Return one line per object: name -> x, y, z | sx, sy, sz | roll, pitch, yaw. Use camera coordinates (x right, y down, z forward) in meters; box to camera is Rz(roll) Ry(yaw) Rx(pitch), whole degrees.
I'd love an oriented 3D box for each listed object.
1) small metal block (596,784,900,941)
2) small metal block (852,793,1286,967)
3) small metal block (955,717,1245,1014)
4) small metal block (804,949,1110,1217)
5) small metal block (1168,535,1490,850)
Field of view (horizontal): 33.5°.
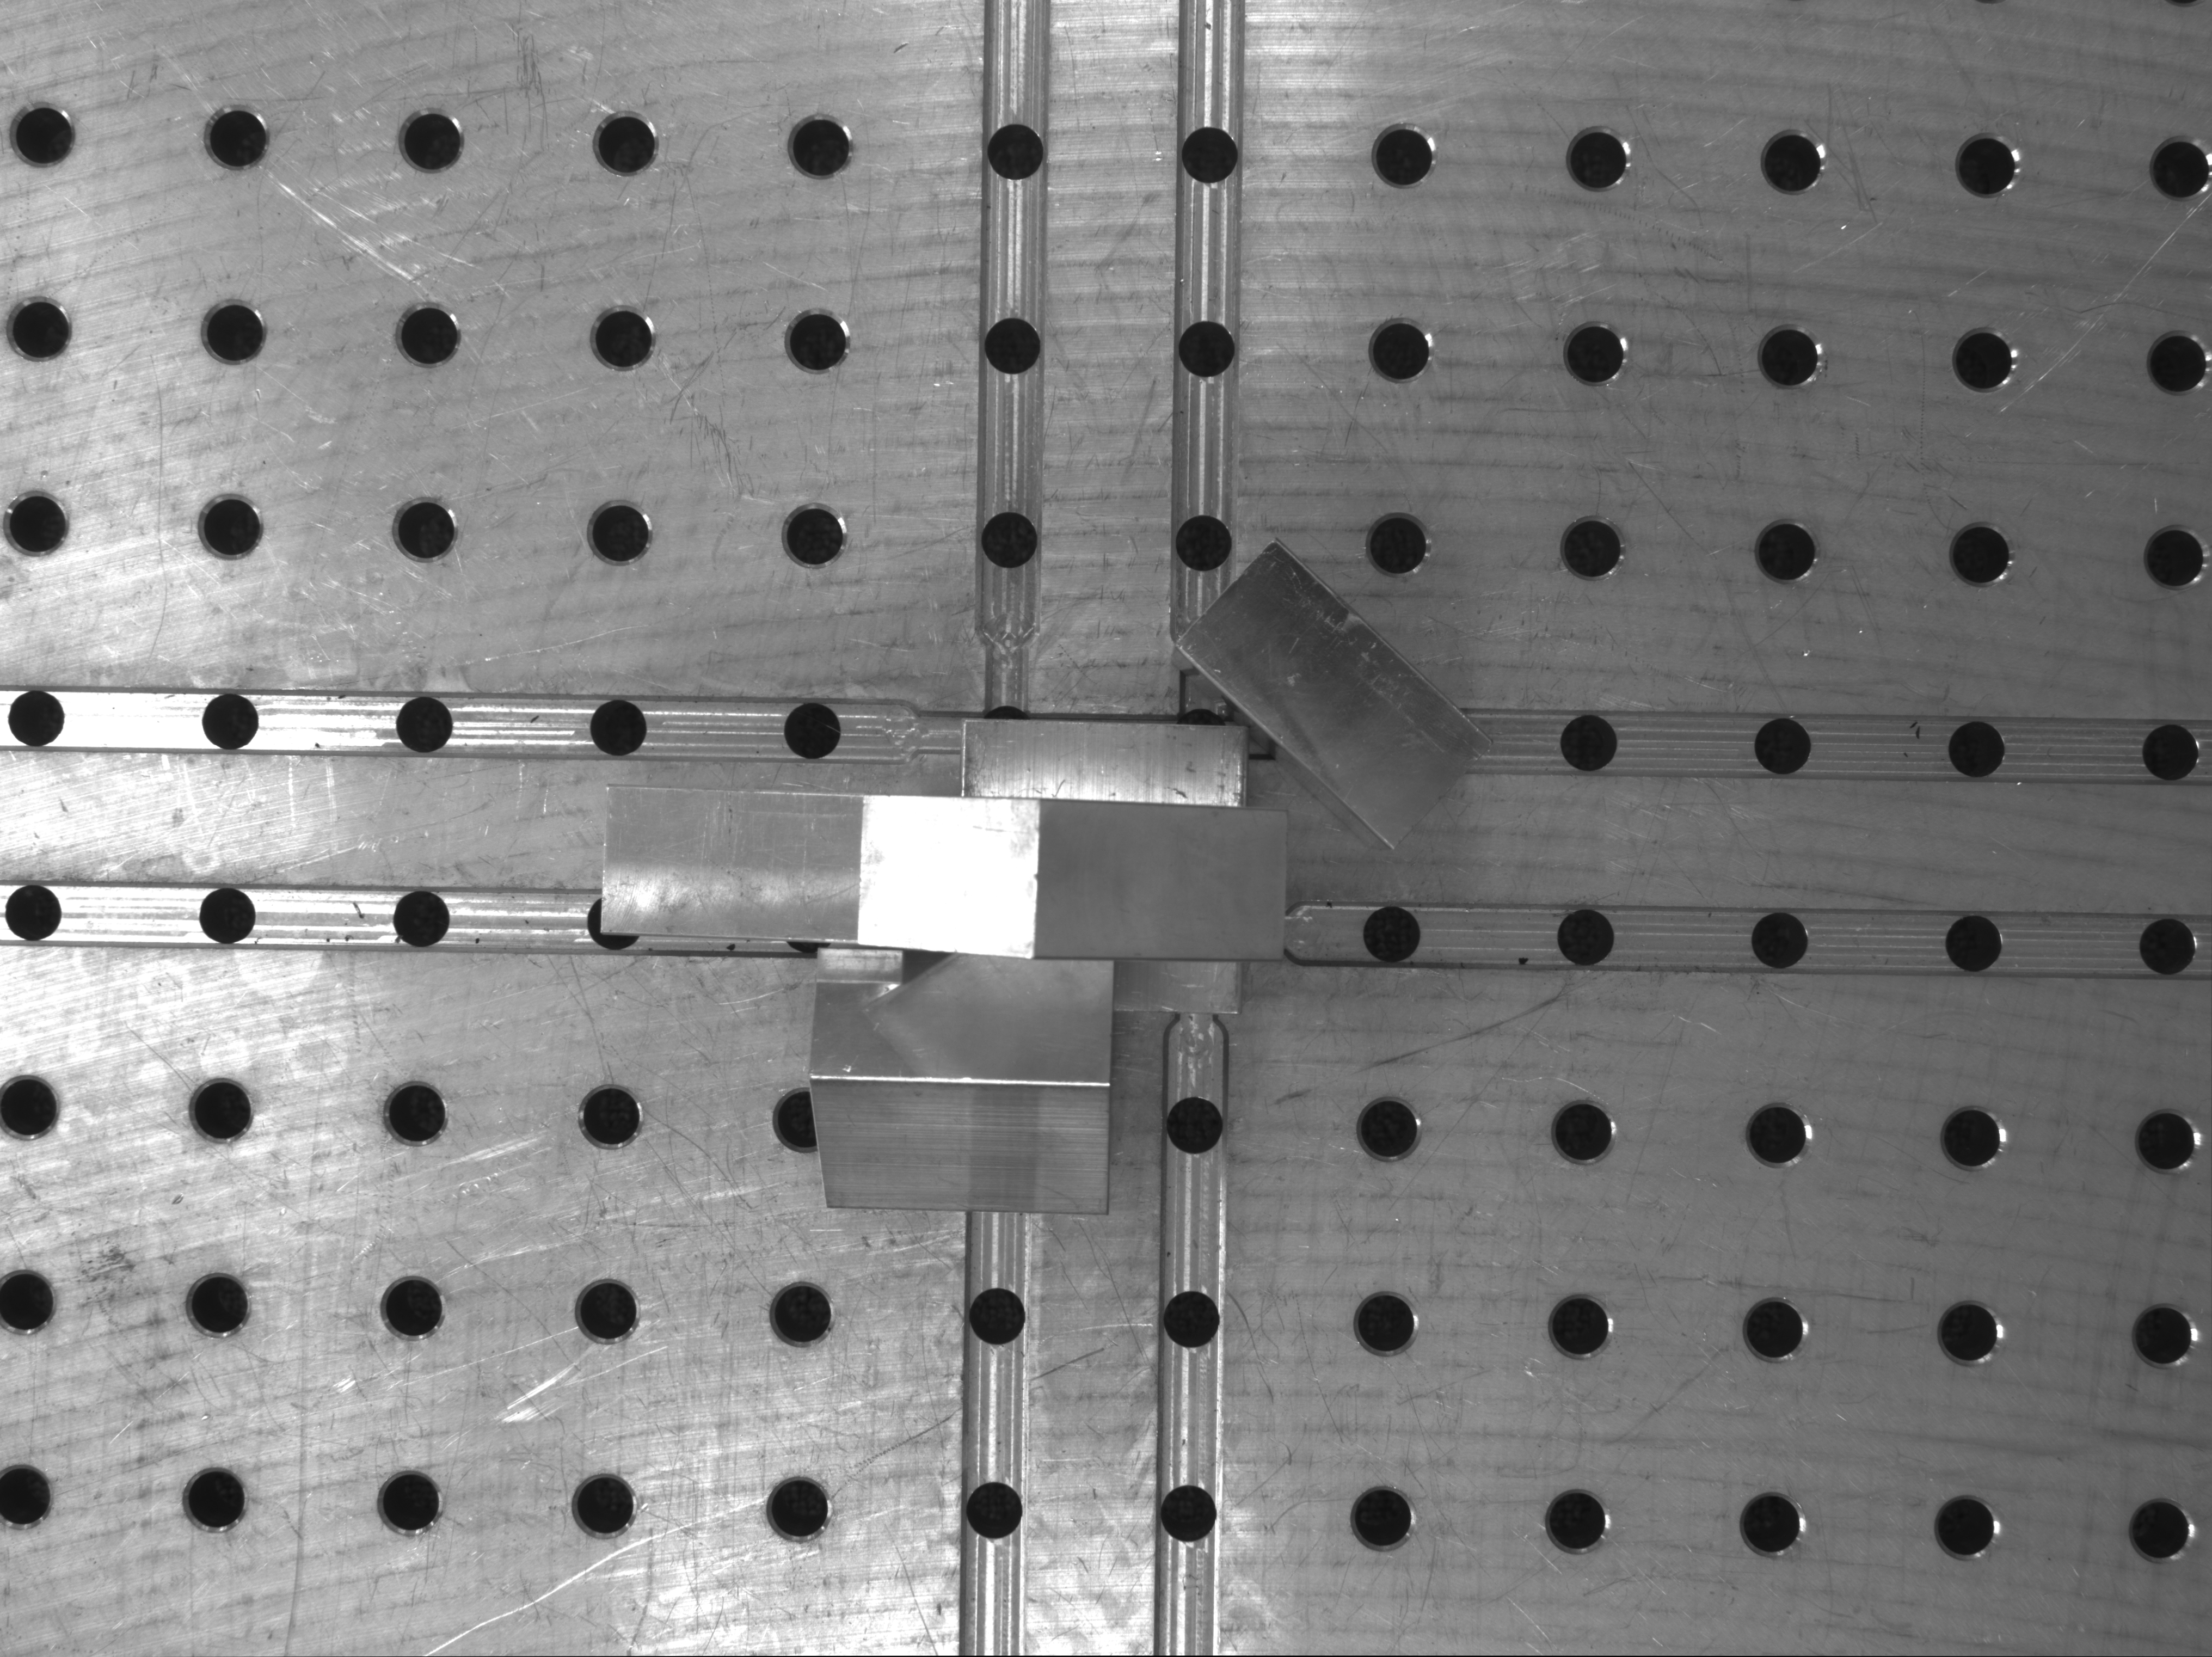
small metal block -> -0.059, 0.006, 0.635 | 0.050, 0.050, 0.025 | 2, 90, 1
small metal block -> -0.006, 0.008, 0.601 | 0.050, 0.050, 0.025 | 3, 90, -37
small metal block -> -0.002, 0.006, 0.648 | 0.050, 0.025, 0.050 | 2, 90, -1
small metal block -> -0.025, 0.044, 0.633 | 0.050, 0.050, 0.025 | 1, 58, 0
small metal block -> 0.037, -0.022, 0.636 | 0.050, 0.050, 0.025 | 43, 89, 0
